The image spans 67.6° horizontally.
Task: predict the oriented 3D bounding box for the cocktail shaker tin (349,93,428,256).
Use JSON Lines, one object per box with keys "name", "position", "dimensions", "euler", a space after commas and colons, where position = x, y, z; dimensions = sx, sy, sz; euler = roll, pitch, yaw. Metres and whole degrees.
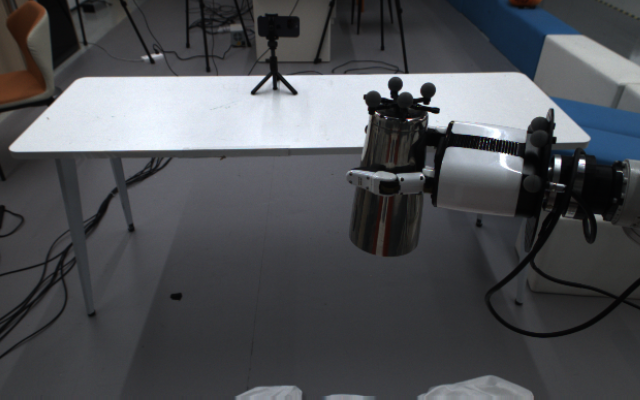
{"name": "cocktail shaker tin", "position": [0.089, -0.028, 0.590], "dimensions": [0.093, 0.170, 0.093], "euler": [2, 30, -1]}
